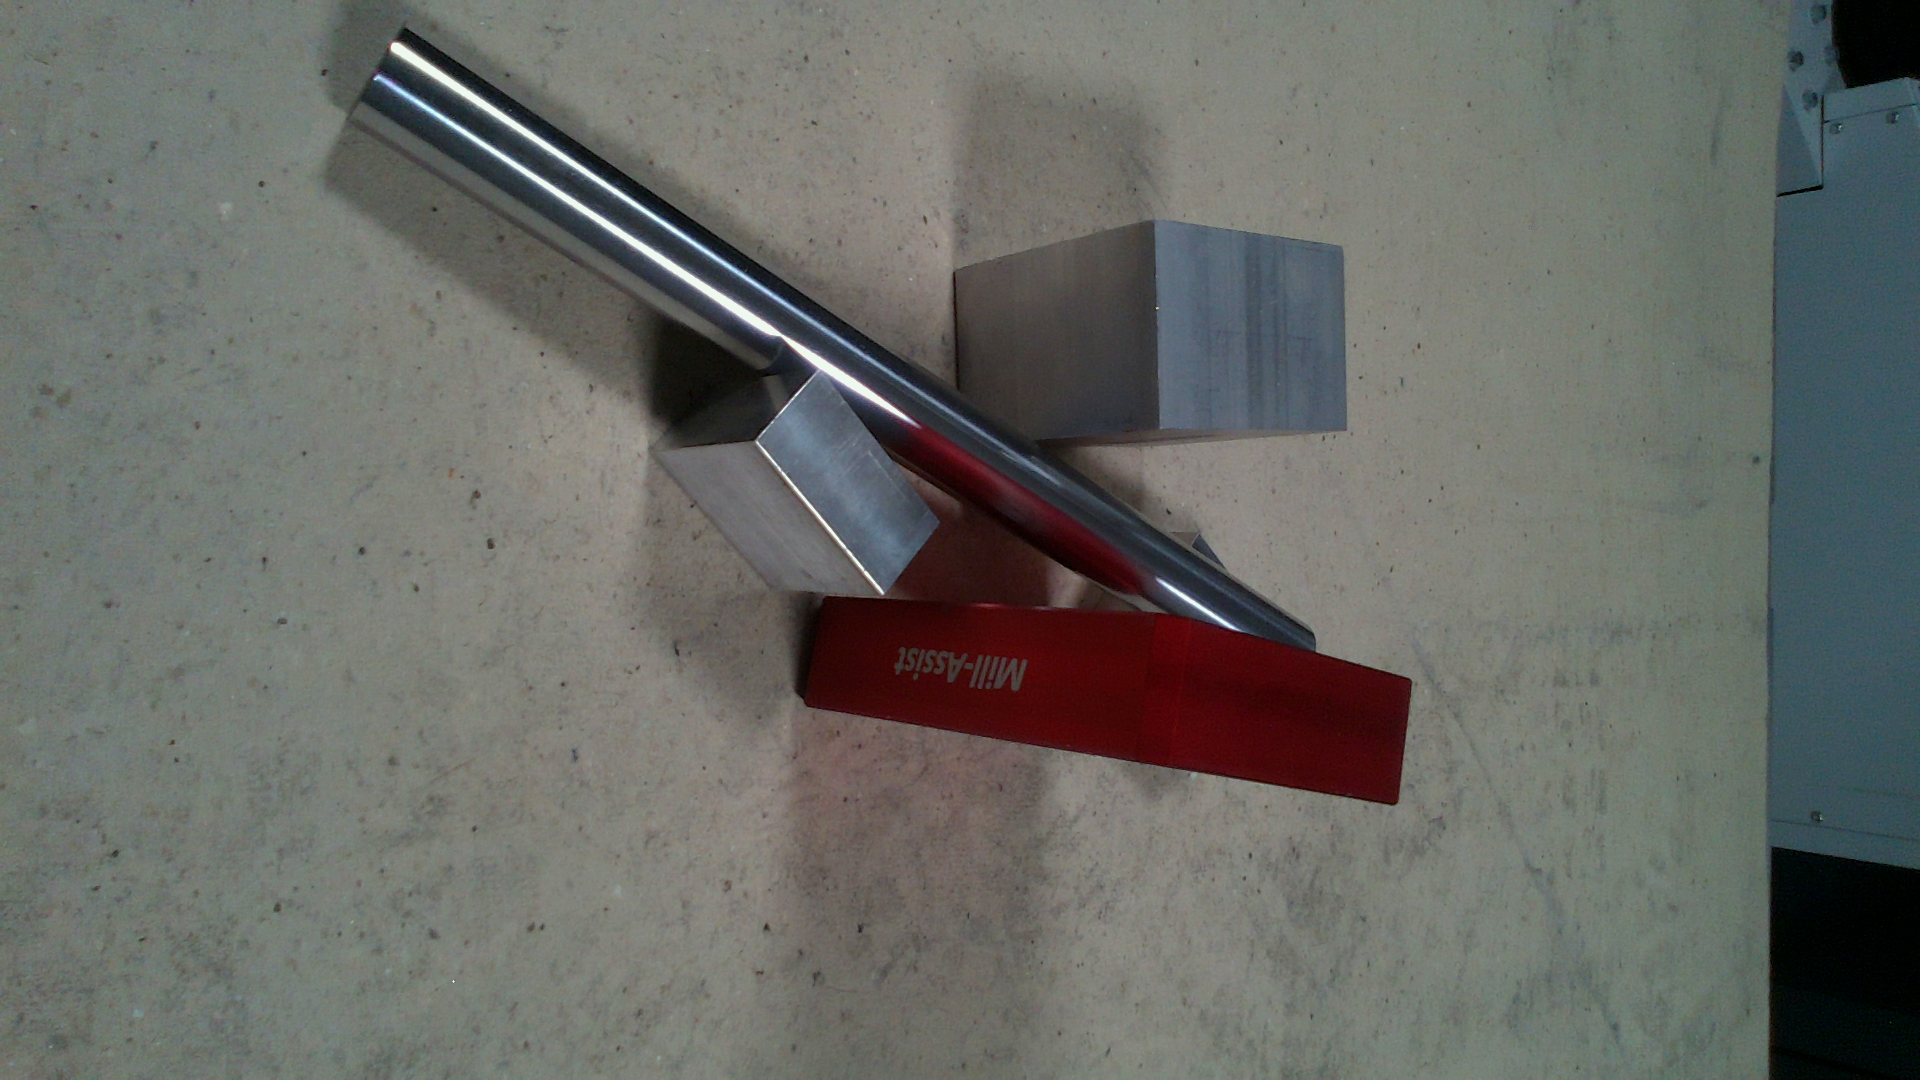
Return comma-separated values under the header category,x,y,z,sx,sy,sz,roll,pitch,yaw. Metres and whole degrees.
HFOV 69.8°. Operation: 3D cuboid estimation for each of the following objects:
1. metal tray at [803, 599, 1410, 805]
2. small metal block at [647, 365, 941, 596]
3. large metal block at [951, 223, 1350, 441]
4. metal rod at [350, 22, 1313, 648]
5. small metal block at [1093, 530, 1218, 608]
category,x,y,z,sx,sy,sz,roll,pitch,yaw
metal tray,0.033,0.039,0.349,0.090,0.129,0.030,16,80,-38
small metal block,-0.041,-0.013,0.338,0.050,0.050,0.025,52,60,-27
large metal block,0.054,-0.055,0.397,0.080,0.080,0.050,-3,92,-40
metal rod,-0.010,-0.031,0.363,0.301,0.025,0.025,31,71,-30
small metal block,0.069,0.032,0.447,0.050,0.025,0.050,49,61,-29
